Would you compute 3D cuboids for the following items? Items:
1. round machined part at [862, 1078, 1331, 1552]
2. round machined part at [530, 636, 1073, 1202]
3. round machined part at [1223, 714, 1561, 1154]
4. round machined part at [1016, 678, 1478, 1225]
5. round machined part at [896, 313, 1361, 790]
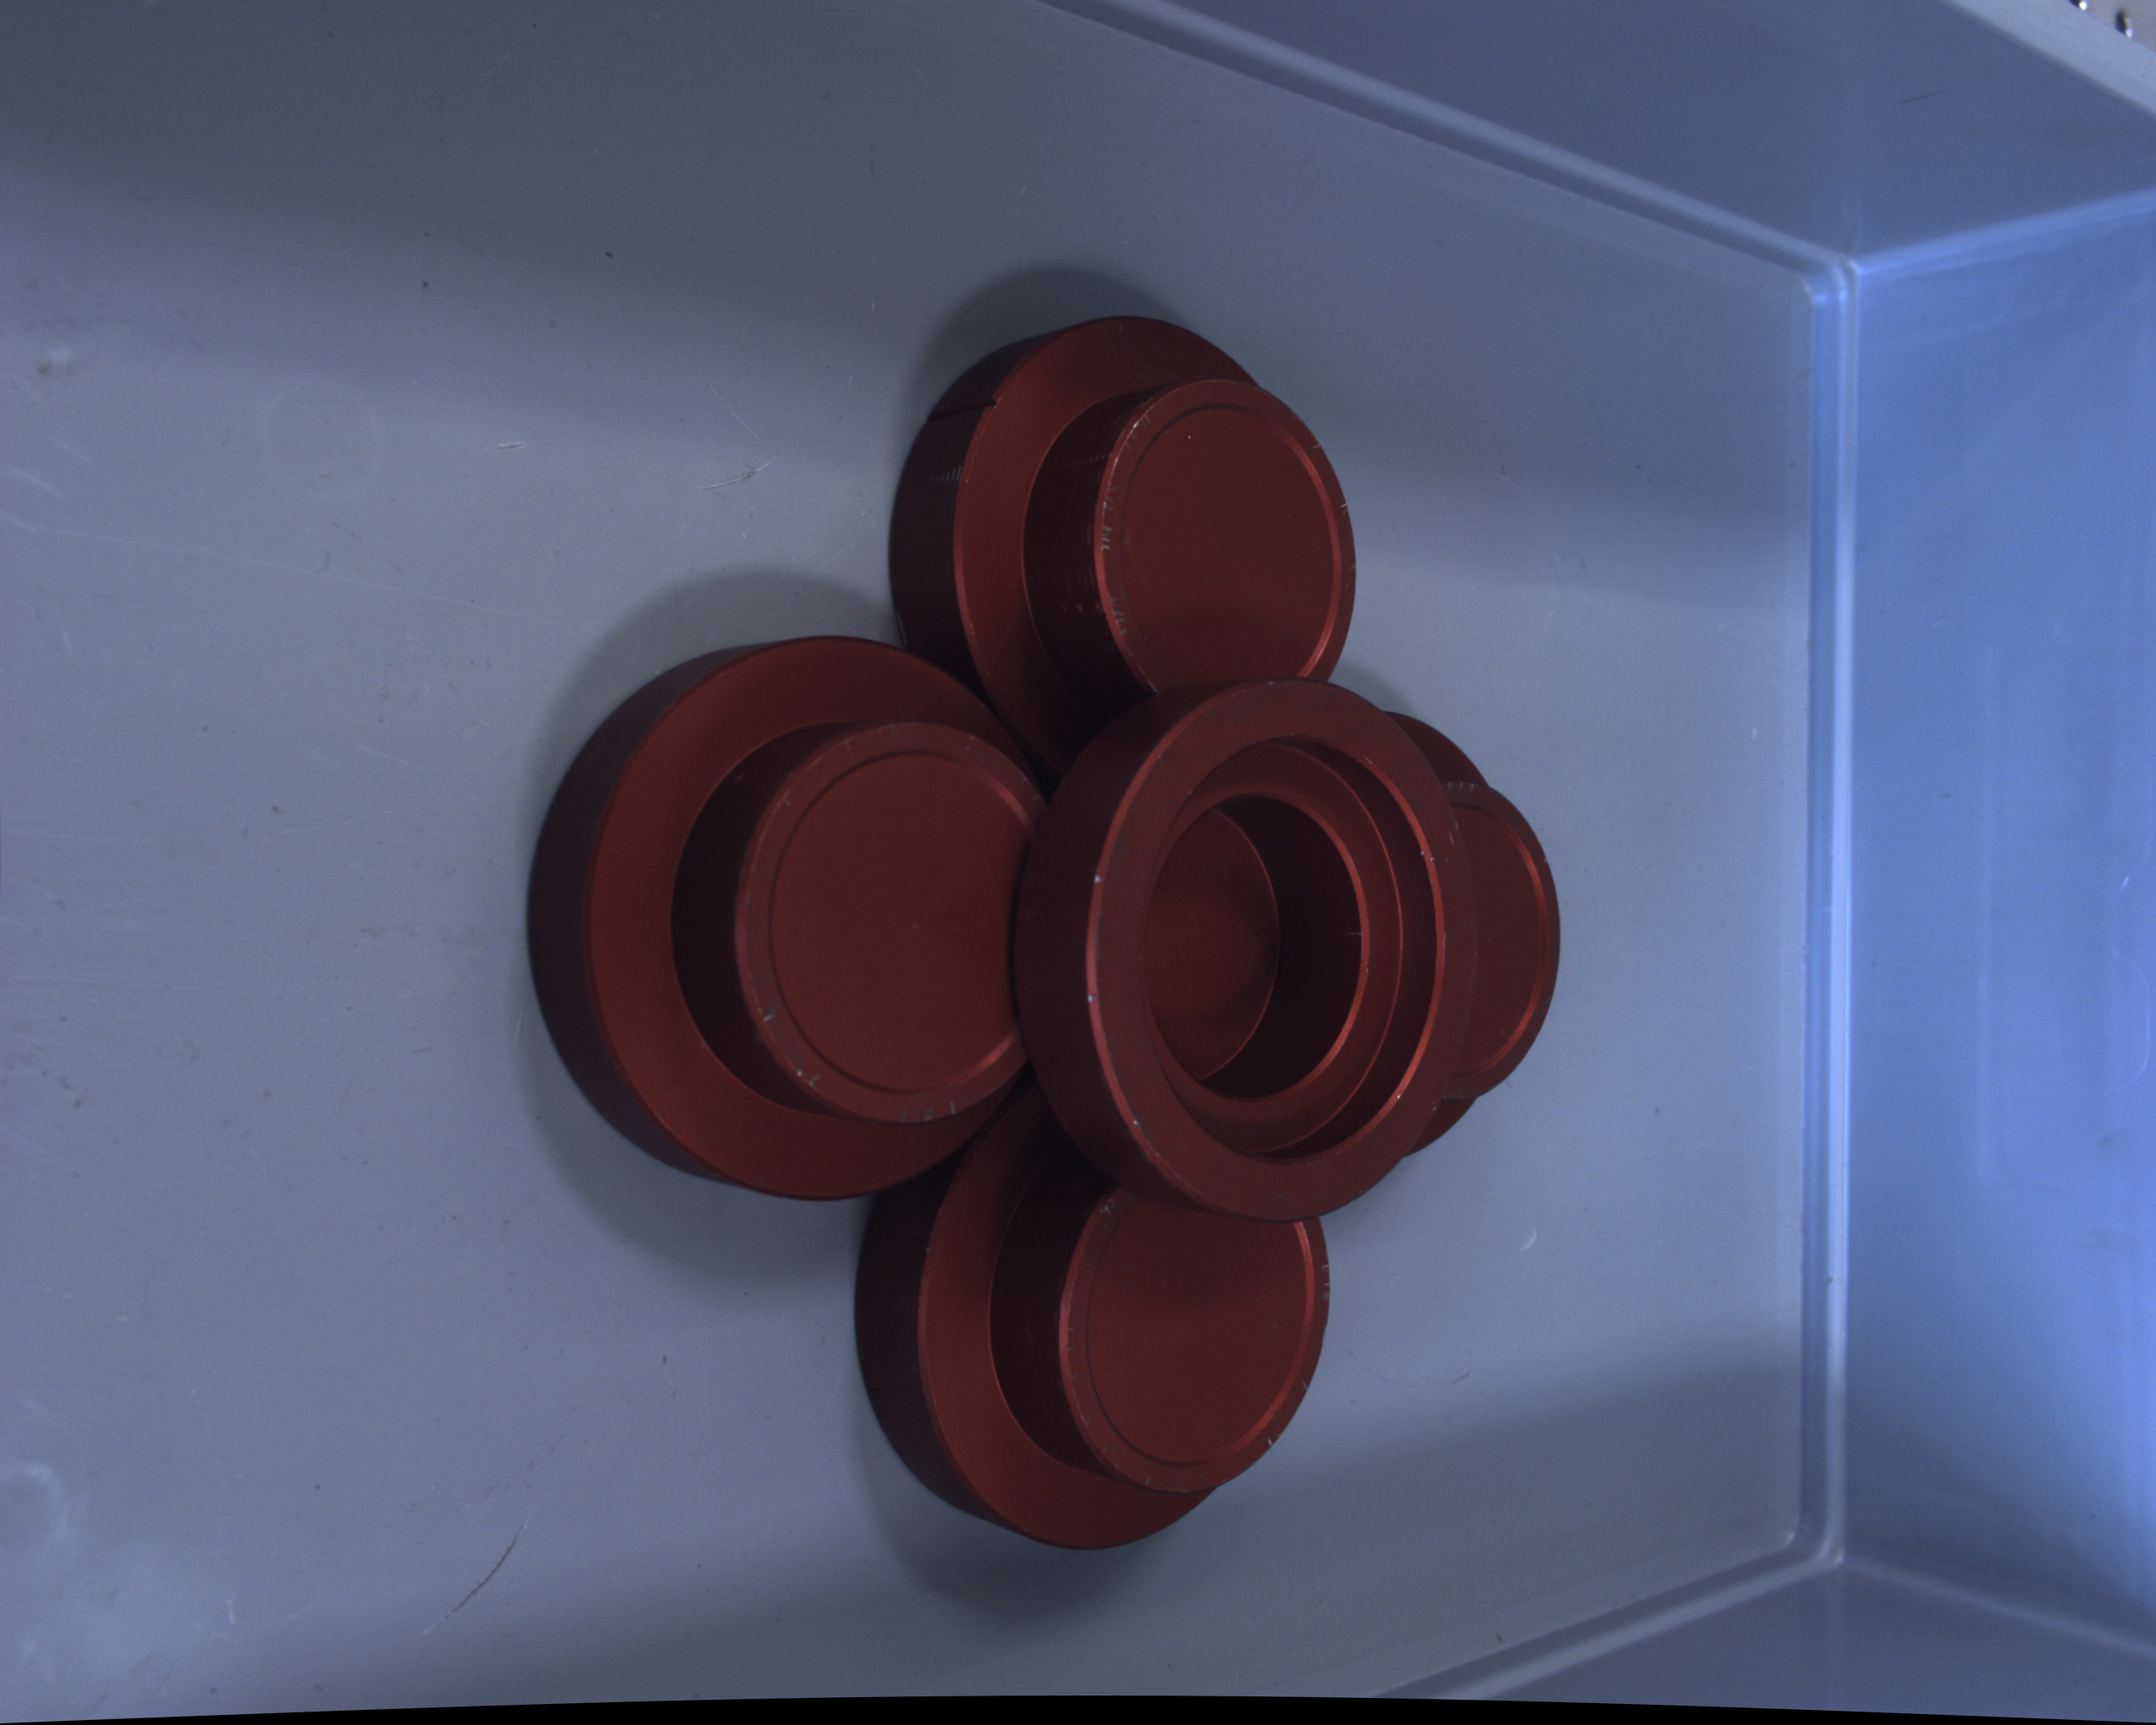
[{"bbox_3d":[0.010,0.083,0.402,0.099,0.042,0.097,2,87,-41],"label":"round machined part"},{"bbox_3d":[-0.039,0.010,0.359,0.099,0.042,0.097,0,90,-40],"label":"round machined part"},{"bbox_3d":[0.066,0.016,0.448,0.099,0.042,0.097,0,90,-40],"label":"round machined part"},{"bbox_3d":[0.027,0.016,0.388,0.099,0.042,0.097,0,90,-40],"label":"round machined part"},{"bbox_3d":[0.017,-0.058,0.405,0.099,0.042,0.097,0,90,-40],"label":"round machined part"}]
